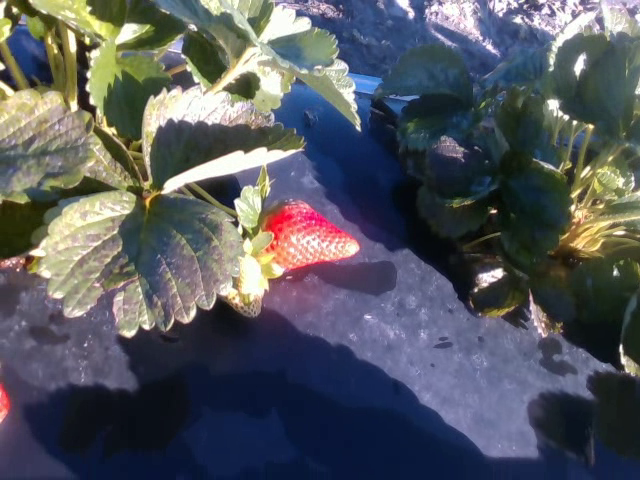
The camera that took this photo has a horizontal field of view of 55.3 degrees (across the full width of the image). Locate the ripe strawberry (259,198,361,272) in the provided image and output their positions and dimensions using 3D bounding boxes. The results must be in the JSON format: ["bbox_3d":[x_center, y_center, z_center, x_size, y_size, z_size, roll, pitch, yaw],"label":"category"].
[{"bbox_3d":[-0.007,0.000,0.332,0.064,0.050,0.052,11,-4,-4],"label":"ripe strawberry"}]
